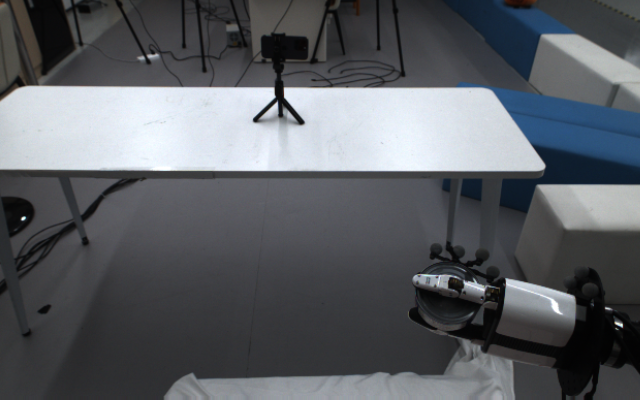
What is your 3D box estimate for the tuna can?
[{"bbox_3d":[0.170,0.122,0.637,0.085,0.034,0.085,-4,55,6],"label":"tuna can"}]
